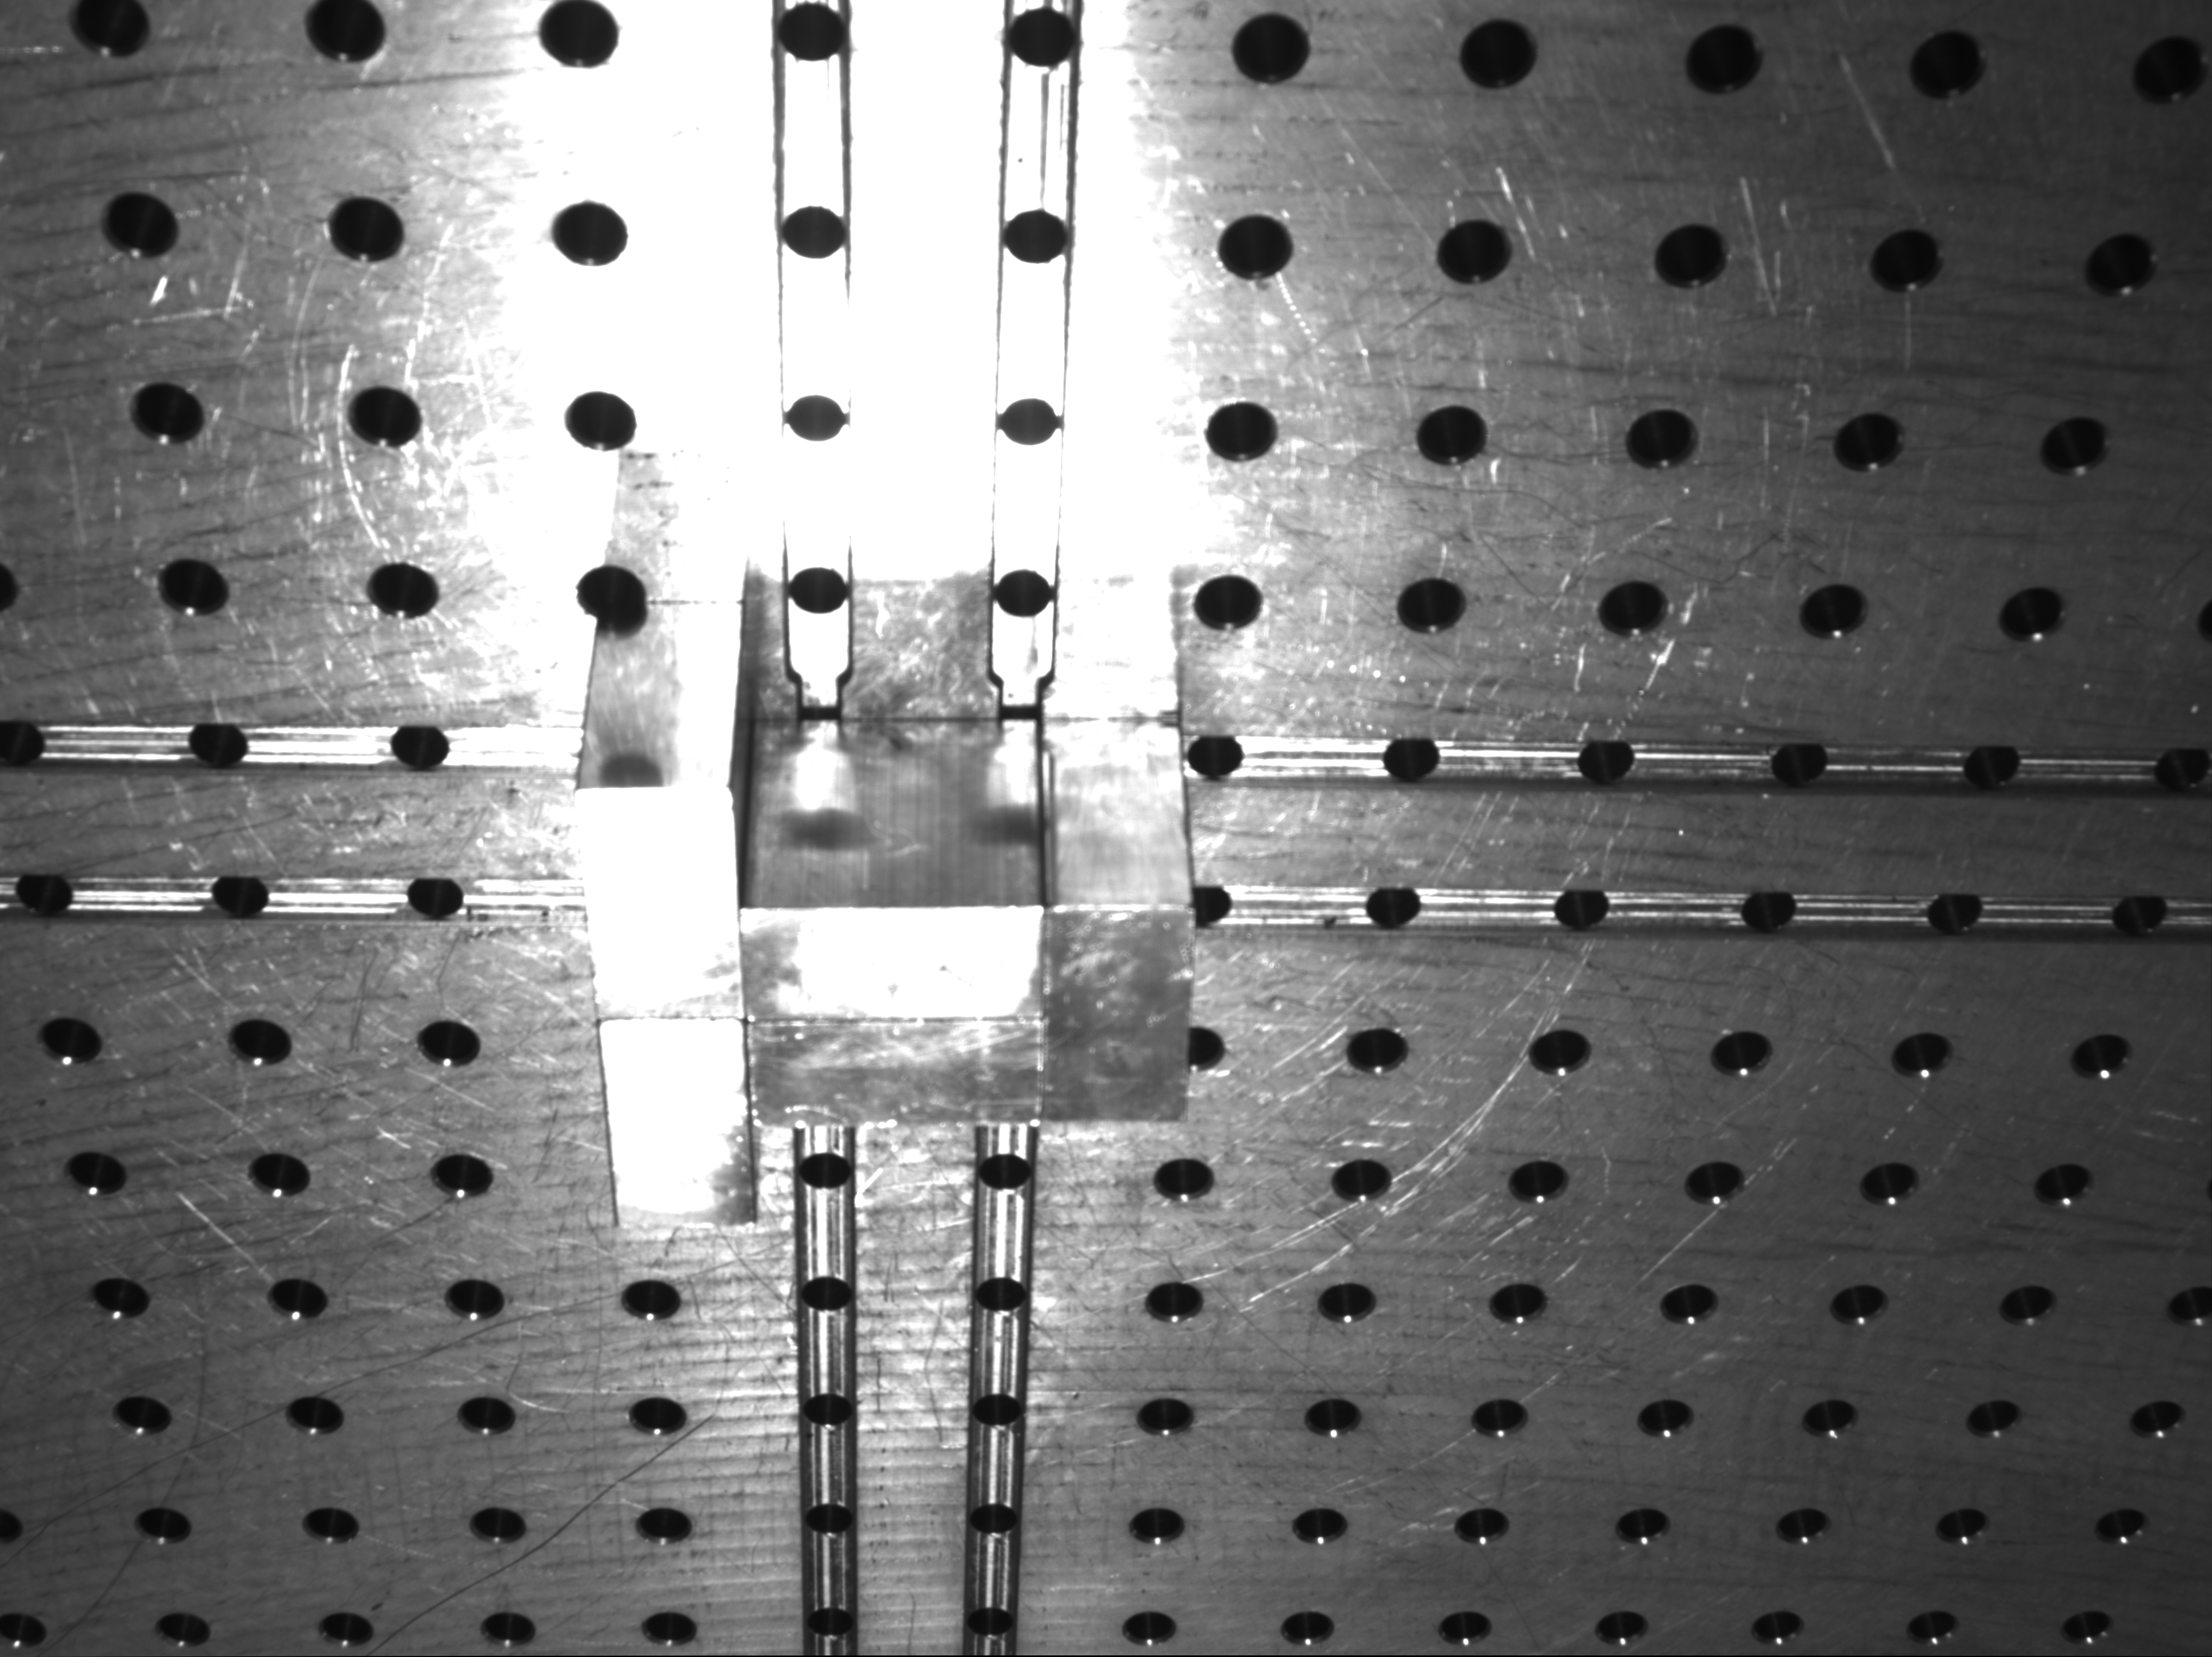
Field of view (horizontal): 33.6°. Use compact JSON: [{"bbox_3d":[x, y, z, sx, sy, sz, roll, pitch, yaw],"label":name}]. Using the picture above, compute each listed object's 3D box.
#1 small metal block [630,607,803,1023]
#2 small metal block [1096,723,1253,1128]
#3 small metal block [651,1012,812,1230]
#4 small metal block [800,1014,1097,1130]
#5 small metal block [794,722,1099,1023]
[{"bbox_3d":[-0.064,-0.002,0.620,0.025,0.050,0.050,0,130,-2],"label":"small metal block"},{"bbox_3d":[0.011,0.017,0.639,0.025,0.050,0.050,0,130,-2],"label":"small metal block"},{"bbox_3d":[-0.065,0.036,0.652,0.025,0.050,0.050,0,130,-2],"label":"small metal block"},{"bbox_3d":[-0.027,0.027,0.646,0.050,0.050,0.025,0,130,-2],"label":"small metal block"},{"bbox_3d":[-0.027,0.007,0.629,0.050,0.050,0.025,0,130,-2],"label":"small metal block"}]
